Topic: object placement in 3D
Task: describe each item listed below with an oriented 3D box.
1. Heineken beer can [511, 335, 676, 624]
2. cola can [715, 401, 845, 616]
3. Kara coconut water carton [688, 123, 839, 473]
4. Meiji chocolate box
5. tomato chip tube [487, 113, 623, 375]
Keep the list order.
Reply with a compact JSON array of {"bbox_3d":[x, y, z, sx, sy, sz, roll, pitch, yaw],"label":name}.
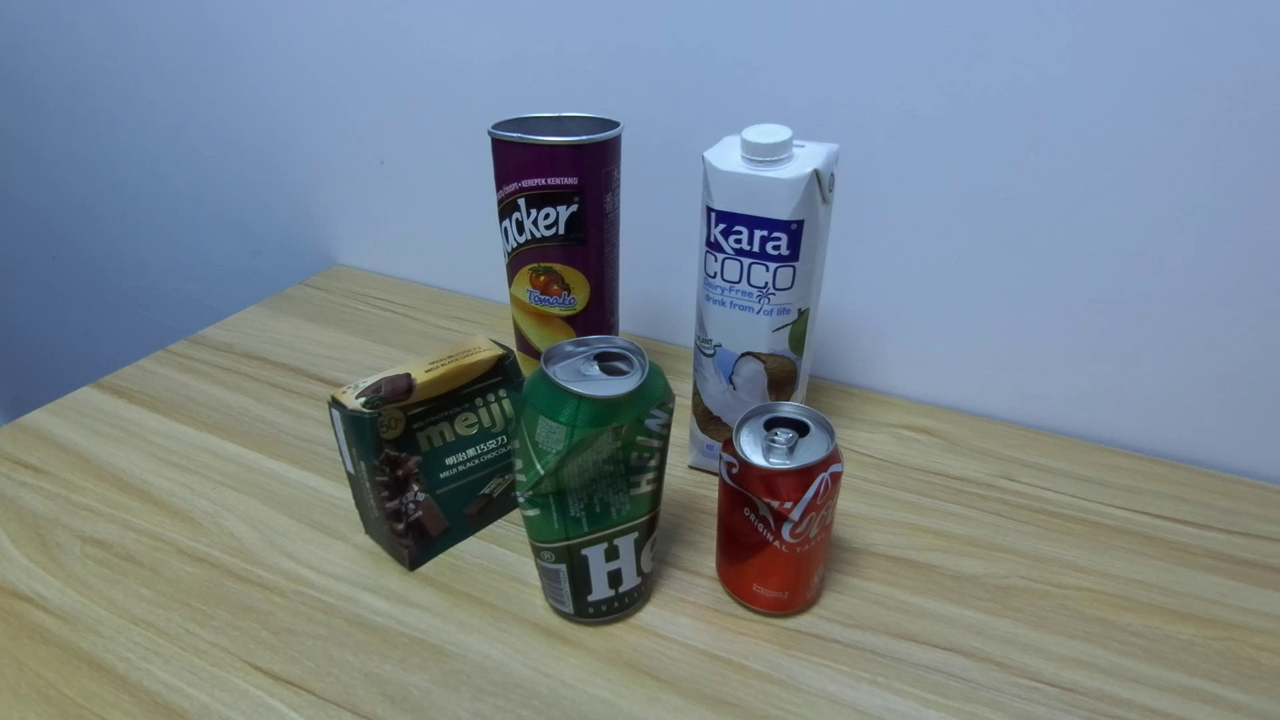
[{"bbox_3d":[-0.026,0.069,0.388,0.077,0.164,0.066,9,33,10],"label":"Heineken beer can"},{"bbox_3d":[0.081,0.086,0.405,0.066,0.117,0.072,-11,33,-19],"label":"cola can"},{"bbox_3d":[0.077,-0.032,0.470,0.077,0.245,0.075,14,33,22],"label":"Kara coconut water carton"},{"bbox_3d":[-0.133,0.059,0.468,0.058,0.111,0.113,17,32,39],"label":"Meiji chocolate box"},{"bbox_3d":[-0.053,-0.050,0.511,0.080,0.234,0.077,26,39,36],"label":"tomato chip tube"}]
